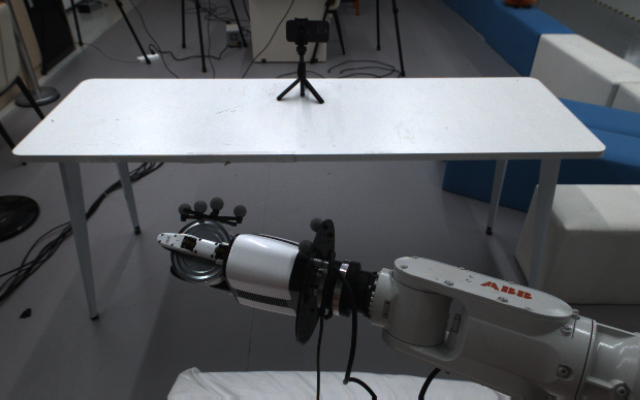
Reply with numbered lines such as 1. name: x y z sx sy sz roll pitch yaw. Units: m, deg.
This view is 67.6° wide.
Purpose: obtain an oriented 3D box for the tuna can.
1. tuna can: -0.150 0.071 0.644 0.085 0.034 0.085 -3 73 9
